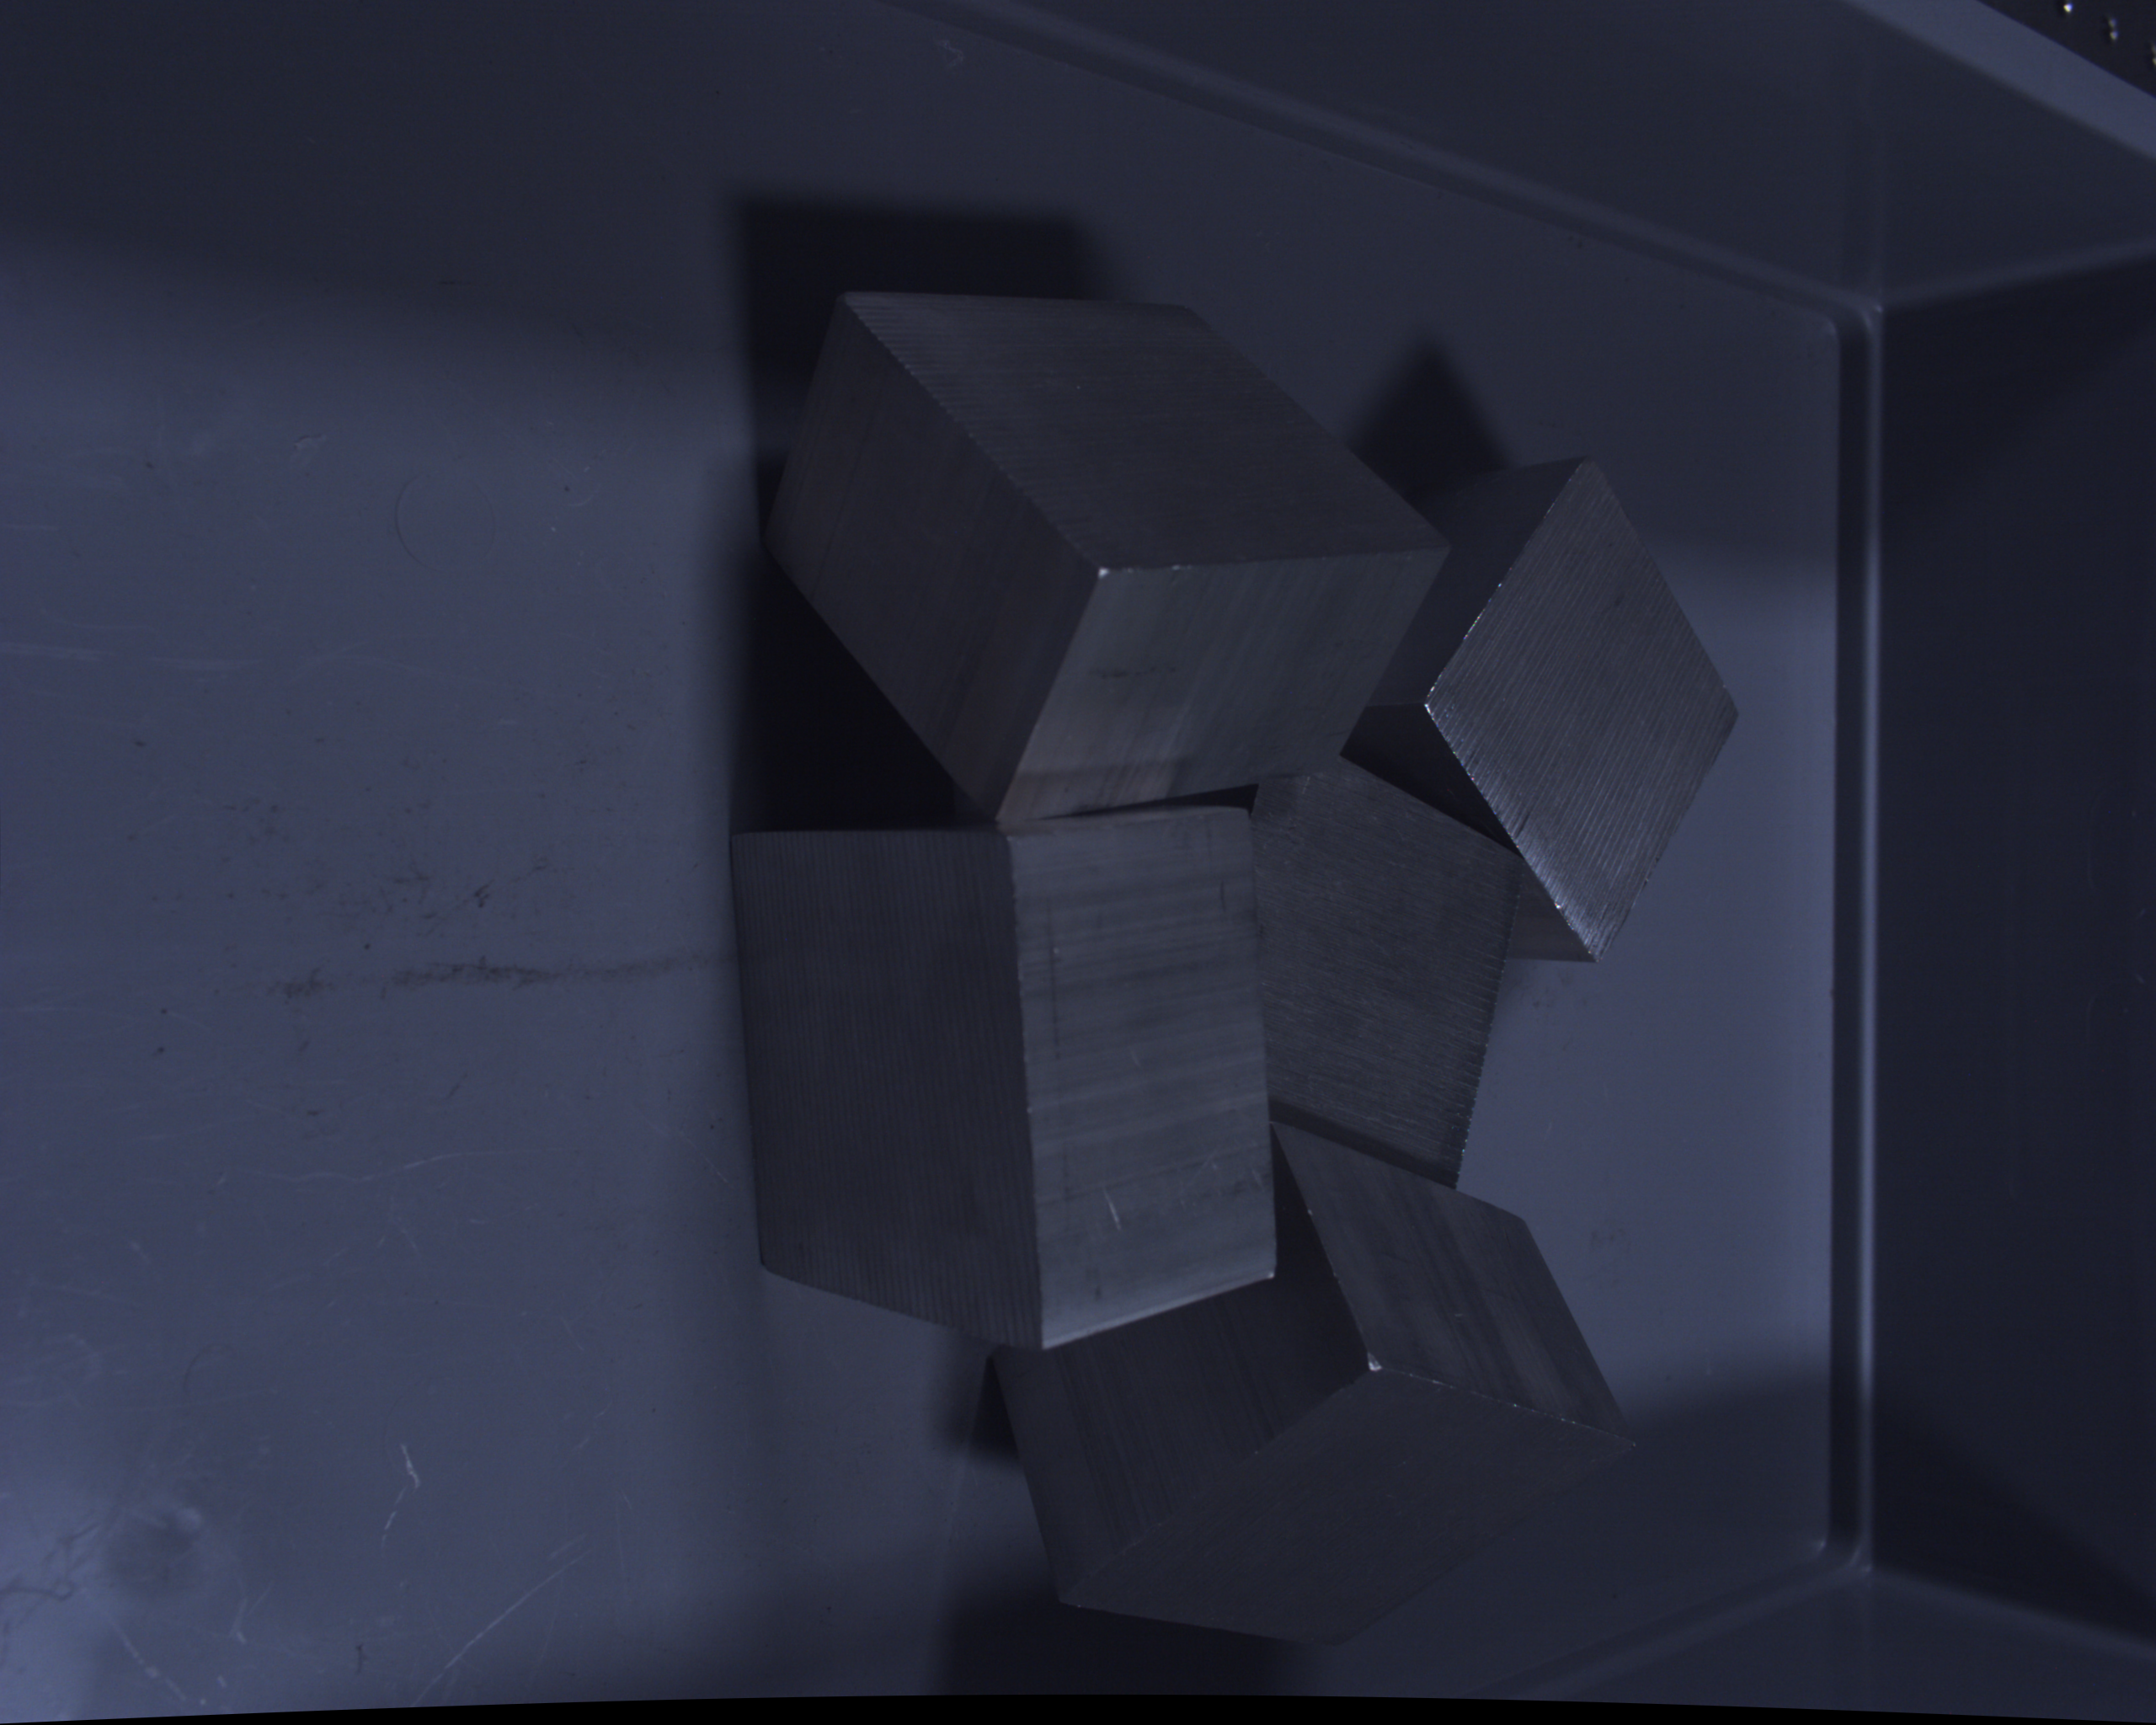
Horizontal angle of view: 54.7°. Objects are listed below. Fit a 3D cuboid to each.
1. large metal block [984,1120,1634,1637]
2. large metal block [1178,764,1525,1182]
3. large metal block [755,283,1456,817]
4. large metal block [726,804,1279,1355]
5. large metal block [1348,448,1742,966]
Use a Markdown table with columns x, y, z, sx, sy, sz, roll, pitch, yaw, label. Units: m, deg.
| x | y | z | sx | sy | sz | roll | pitch | yaw | label |
| --- | --- | --- | --- | --- | --- | --- | --- | --- | --- |
| 0.043 | 0.102 | 0.399 | 0.080 | 0.080 | 0.050 | 26 | 32 | -39 | large metal block |
| 0.039 | 0.024 | 0.424 | 0.080 | 0.050 | 0.080 | 24 | 75 | -38 | large metal block |
| 0.003 | -0.057 | 0.366 | 0.081 | 0.080 | 0.050 | -10 | 138 | -39 | large metal block |
| -0.015 | 0.032 | 0.359 | 0.050 | 0.080 | 0.079 | -7 | 95 | -40 | large metal block |
| 0.096 | -0.034 | 0.472 | 0.080 | 0.050 | 0.080 | 52 | 60 | -28 | large metal block |
